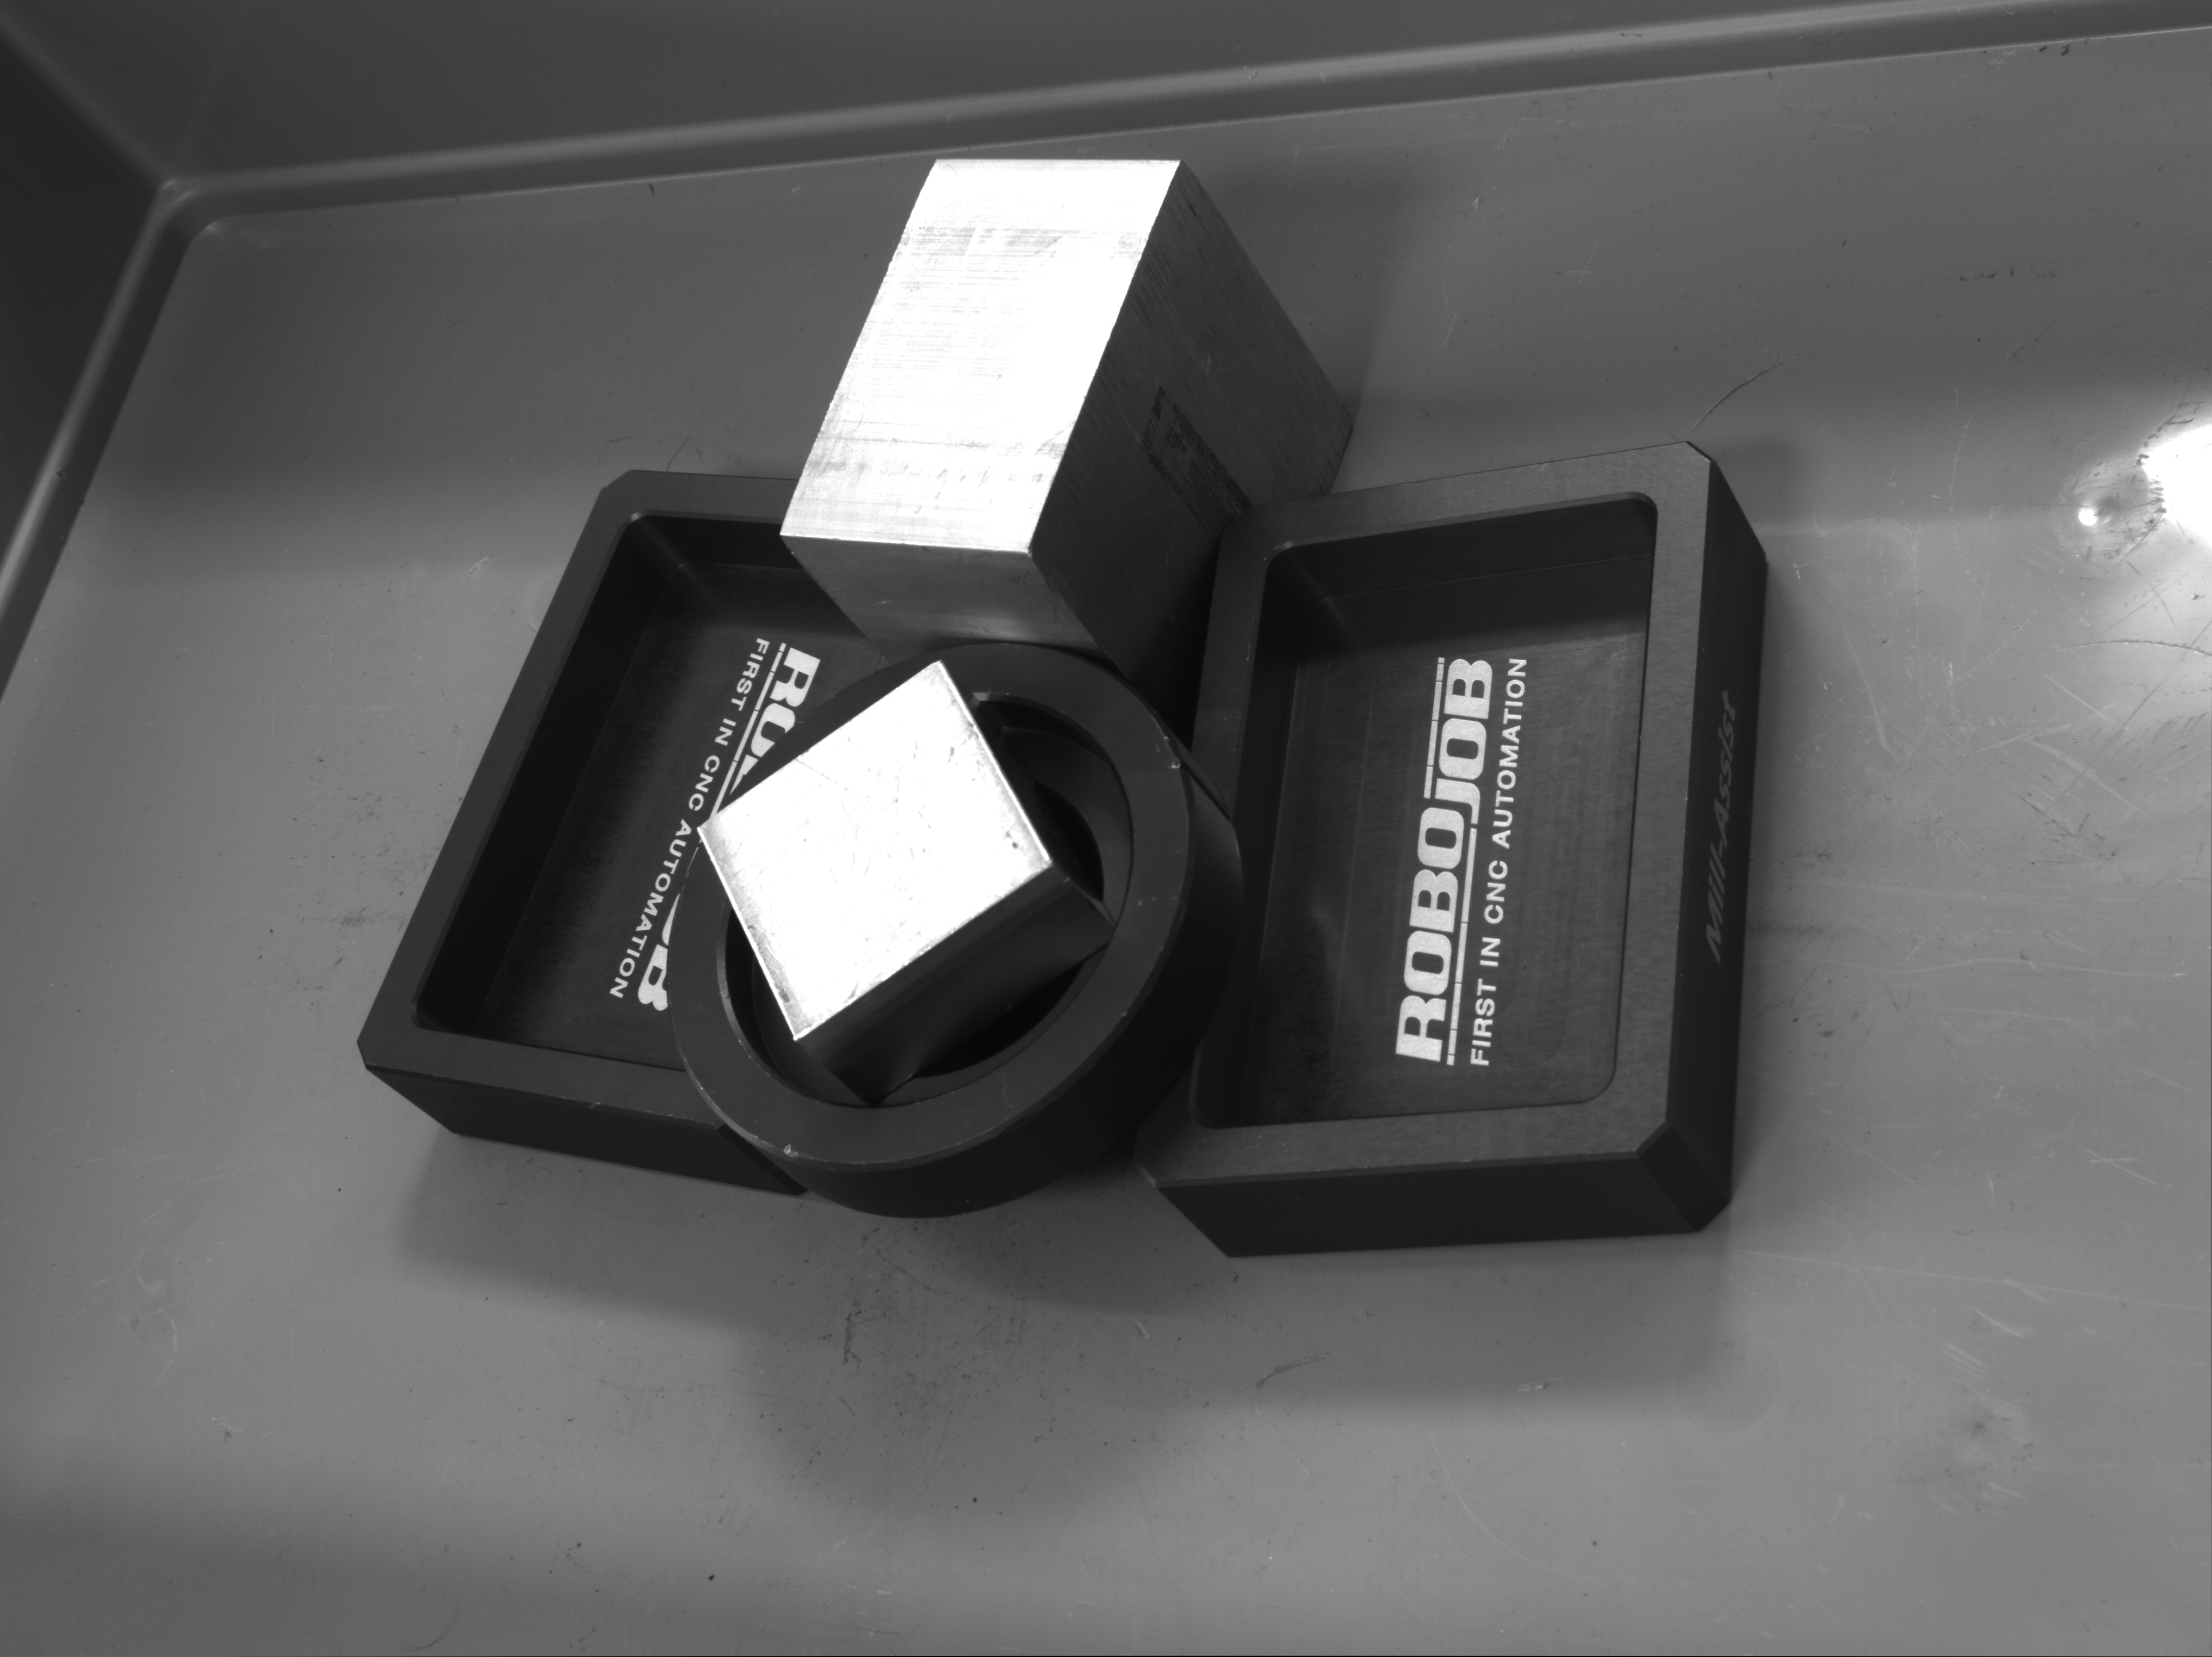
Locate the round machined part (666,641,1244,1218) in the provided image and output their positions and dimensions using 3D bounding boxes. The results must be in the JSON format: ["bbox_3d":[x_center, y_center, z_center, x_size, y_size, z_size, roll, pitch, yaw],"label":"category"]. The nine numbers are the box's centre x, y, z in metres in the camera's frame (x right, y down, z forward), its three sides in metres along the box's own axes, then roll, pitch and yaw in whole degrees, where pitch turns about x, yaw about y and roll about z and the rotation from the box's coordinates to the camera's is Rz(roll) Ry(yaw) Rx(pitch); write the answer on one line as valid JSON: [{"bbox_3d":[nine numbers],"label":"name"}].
[{"bbox_3d":[-0.021,0.021,0.619,0.098,0.042,0.098,-14,56,21],"label":"round machined part"}]

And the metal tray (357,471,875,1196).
[{"bbox_3d":[-0.074,-0.002,0.682,0.090,0.030,0.130,6,65,31],"label":"metal tray"}]

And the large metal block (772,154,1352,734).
[{"bbox_3d":[-0.005,-0.062,0.649,0.050,0.080,0.080,6,65,31],"label":"large metal block"}]

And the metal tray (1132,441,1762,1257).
[{"bbox_3d":[0.058,0.003,0.607,0.090,0.030,0.130,-6,59,25],"label":"metal tray"}]

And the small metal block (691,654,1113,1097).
[{"bbox_3d":[-0.034,0.008,0.603,0.050,0.025,0.050,-34,51,6],"label":"small metal block"}]
